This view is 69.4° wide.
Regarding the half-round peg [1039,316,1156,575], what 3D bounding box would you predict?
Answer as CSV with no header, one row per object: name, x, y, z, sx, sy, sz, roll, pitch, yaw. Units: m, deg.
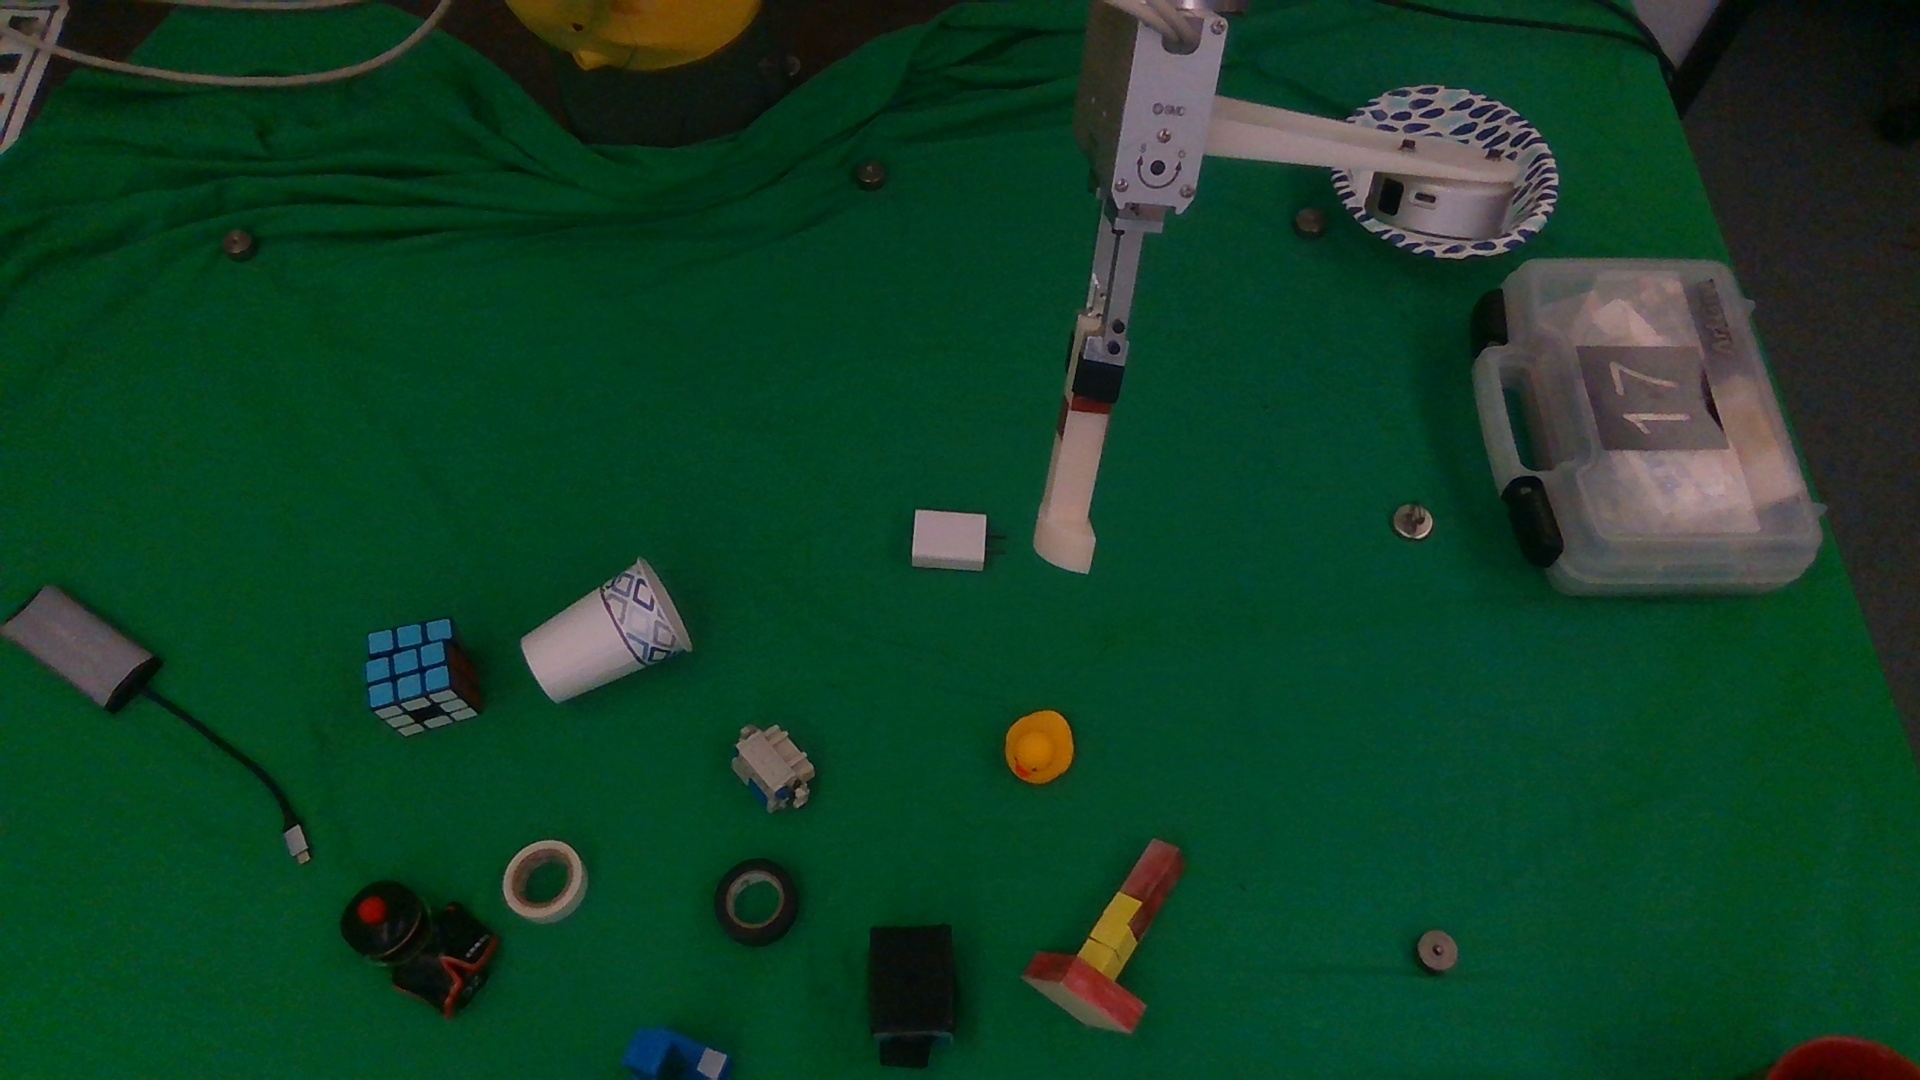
half-round peg,0.065,-0.048,0.659,0.031,0.122,0.054,3,29,-18

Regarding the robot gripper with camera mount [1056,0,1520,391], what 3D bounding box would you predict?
robot gripper with camera mount,0.141,-0.144,0.621,0.193,0.158,0.119,4,27,-6
